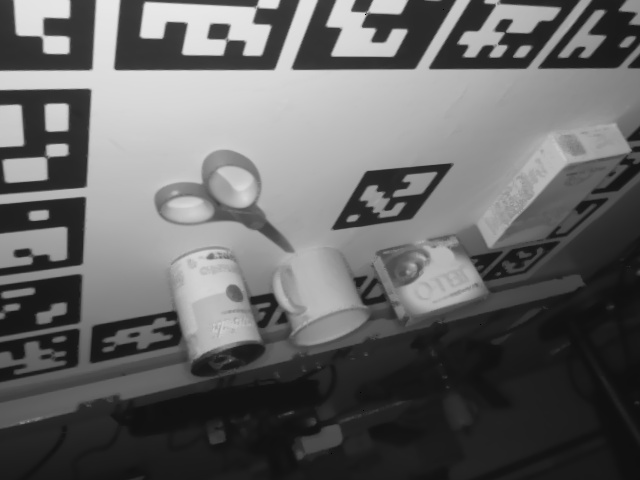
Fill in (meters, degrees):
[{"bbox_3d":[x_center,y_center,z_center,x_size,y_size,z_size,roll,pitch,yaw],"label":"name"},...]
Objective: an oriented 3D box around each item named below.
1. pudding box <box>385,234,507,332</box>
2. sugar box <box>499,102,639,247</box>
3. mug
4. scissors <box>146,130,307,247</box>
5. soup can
[{"bbox_3d":[0.142,0.049,0.788,0.115,0.090,0.038,-14,142,-14],"label":"pudding box"},{"bbox_3d":[0.271,-0.066,0.753,0.094,0.045,0.174,-12,146,-21],"label":"sugar box"},{"bbox_3d":[0.001,0.064,0.734,0.093,0.081,0.117,-30,150,7],"label":"mug"},{"bbox_3d":[-0.065,-0.027,0.610,0.087,0.016,0.204,-40,145,9],"label":"scissors"},{"bbox_3d":[-0.096,0.059,0.656,0.068,0.102,0.067,-17,150,-9],"label":"soup can"}]
